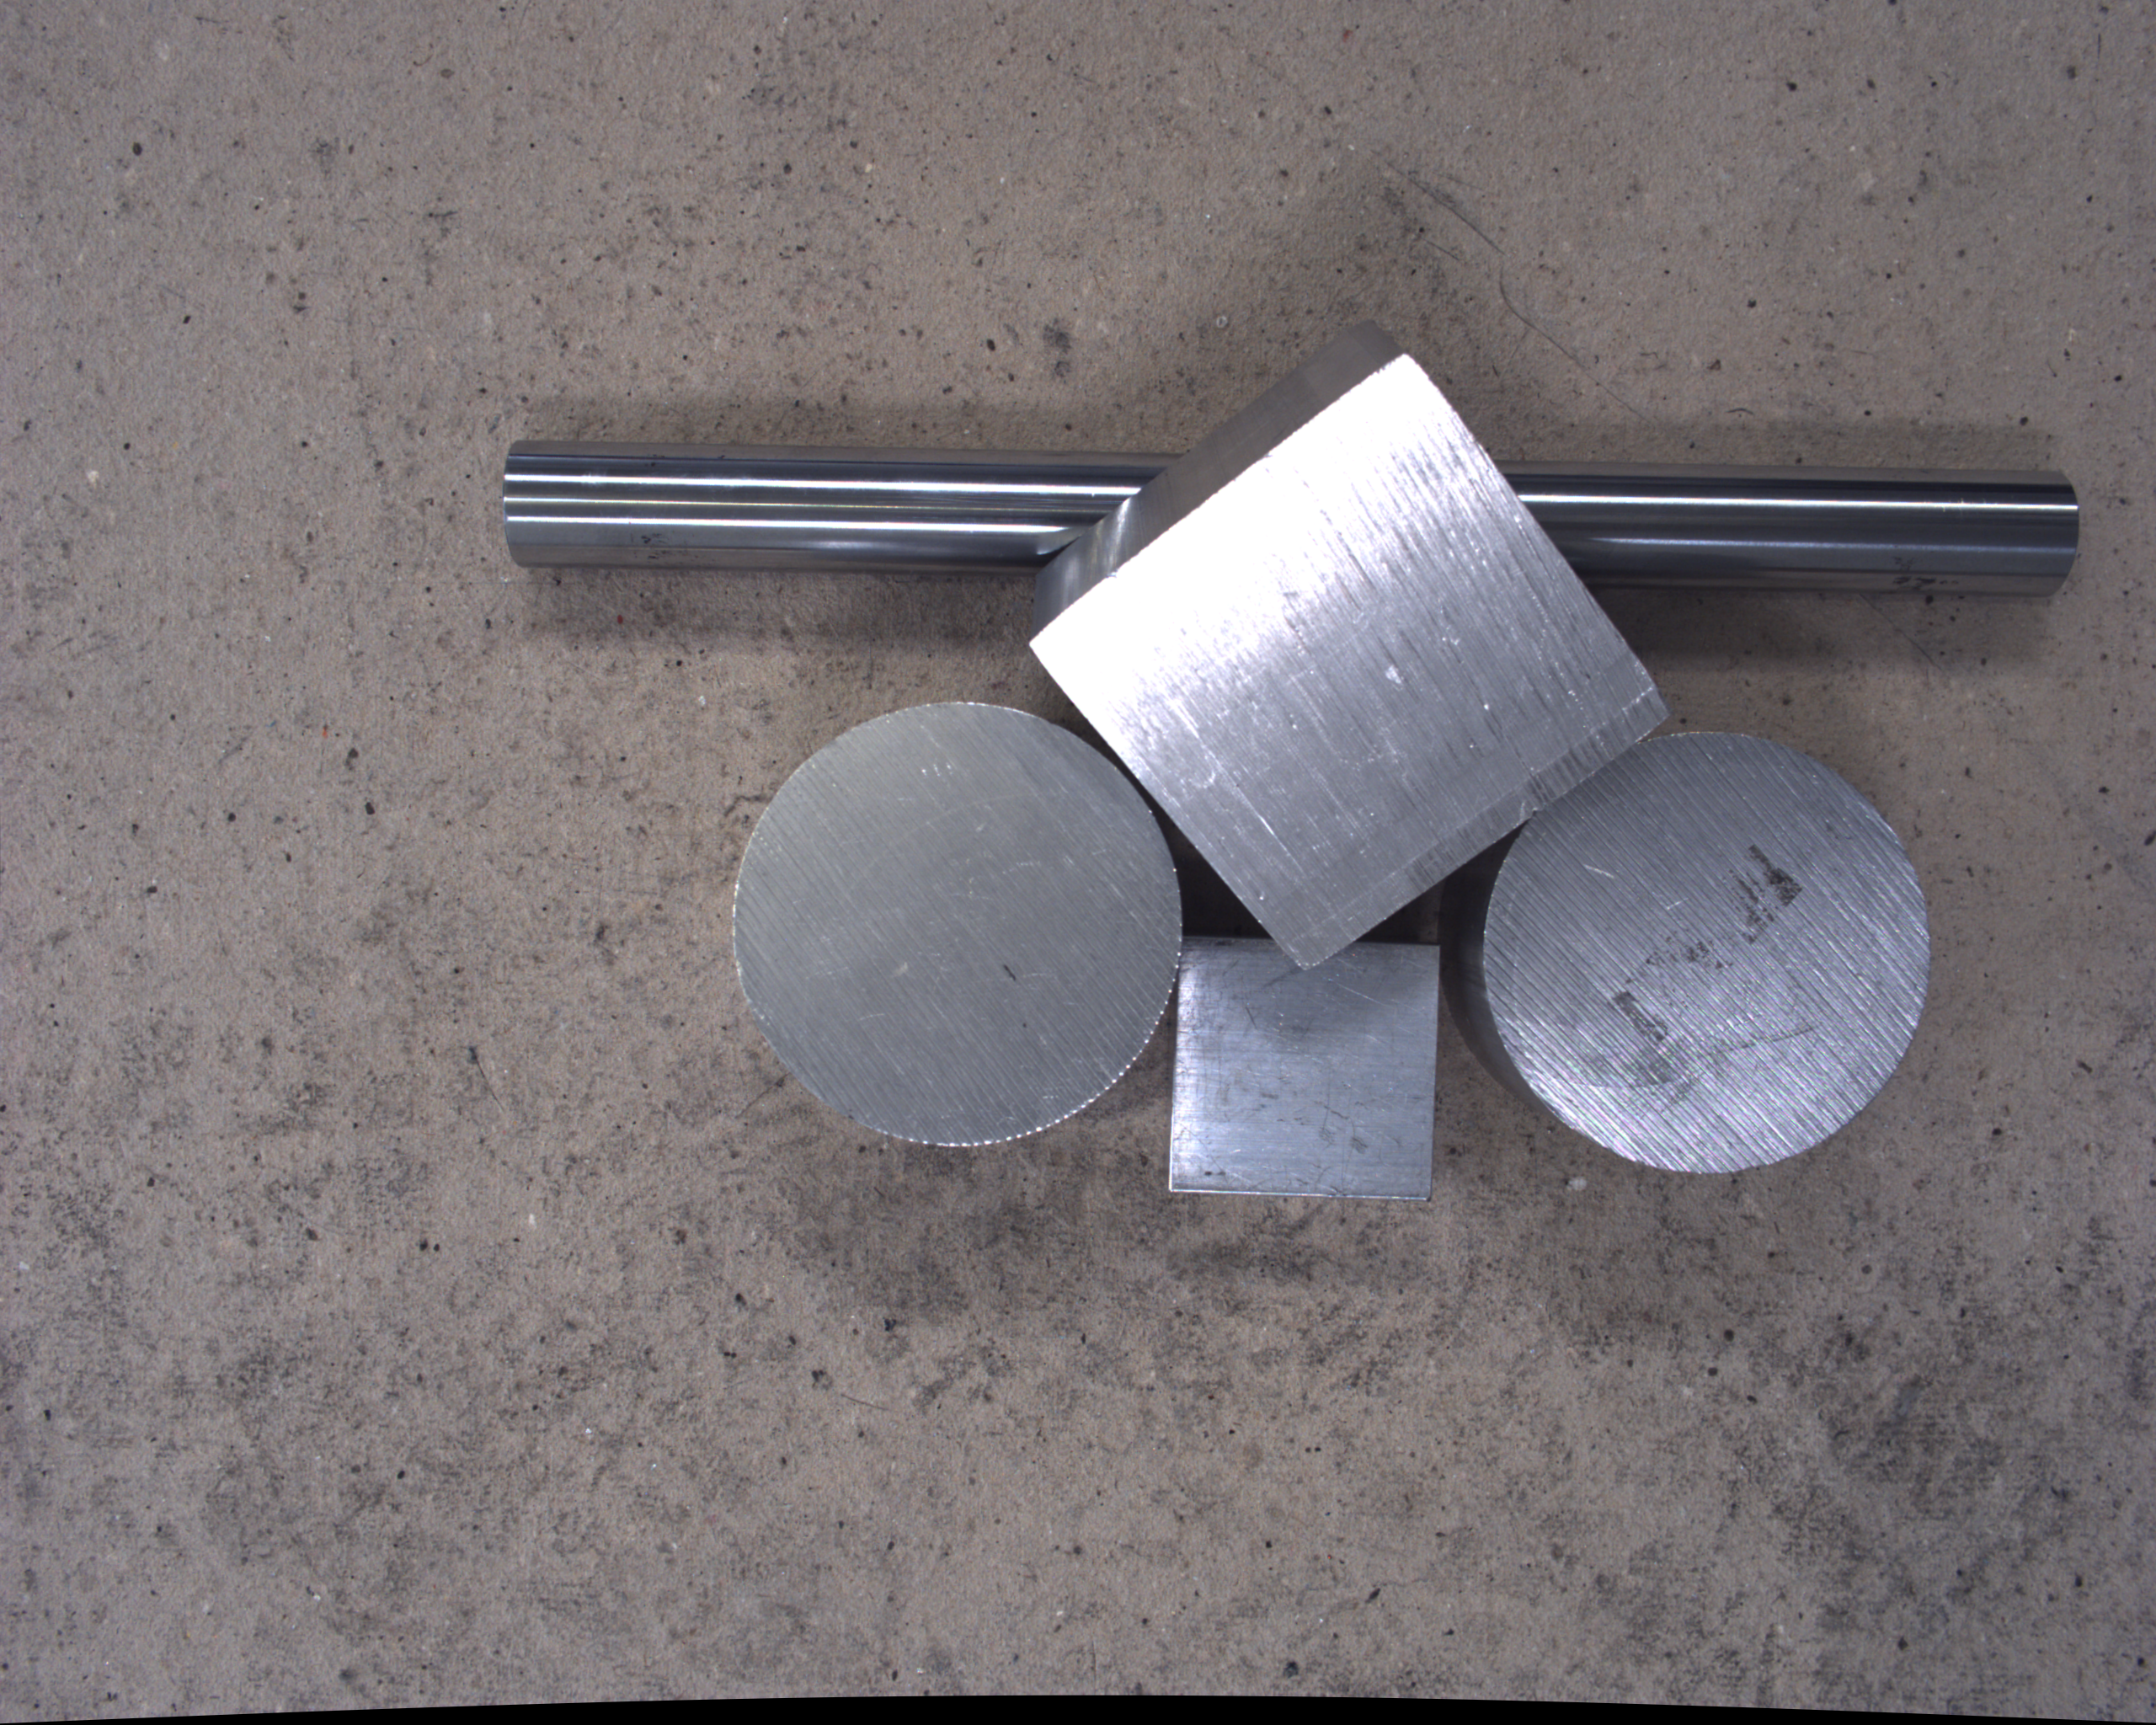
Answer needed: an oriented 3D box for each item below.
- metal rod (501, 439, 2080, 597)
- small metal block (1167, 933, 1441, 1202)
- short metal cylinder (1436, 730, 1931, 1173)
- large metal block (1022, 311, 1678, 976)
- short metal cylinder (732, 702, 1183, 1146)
[{"bbox_3d":[0.041,-0.068,0.411,0.302,0.025,0.025,1,90,0],"label":"metal rod"},{"bbox_3d":[0.044,0.039,0.412,0.050,0.025,0.050,2,90,0],"label":"small metal block"},{"bbox_3d":[0.113,0.016,0.399,0.081,0.050,0.079,0,90,0],"label":"short metal cylinder"},{"bbox_3d":[0.047,-0.041,0.381,0.080,0.050,0.080,-37,107,13],"label":"large metal block"},{"bbox_3d":[-0.021,0.011,0.398,0.081,0.050,0.079,0,90,0],"label":"short metal cylinder"}]
